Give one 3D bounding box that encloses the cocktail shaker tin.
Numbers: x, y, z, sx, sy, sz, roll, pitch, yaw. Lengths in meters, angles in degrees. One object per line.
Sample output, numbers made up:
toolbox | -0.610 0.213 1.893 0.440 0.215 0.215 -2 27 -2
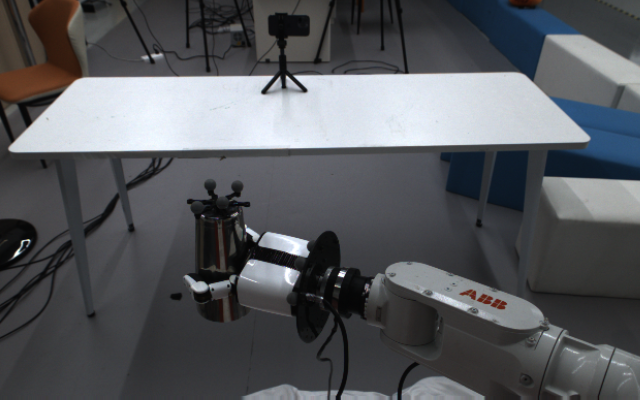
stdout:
cocktail shaker tin | -0.144 0.086 0.724 0.093 0.170 0.093 2 28 -1
